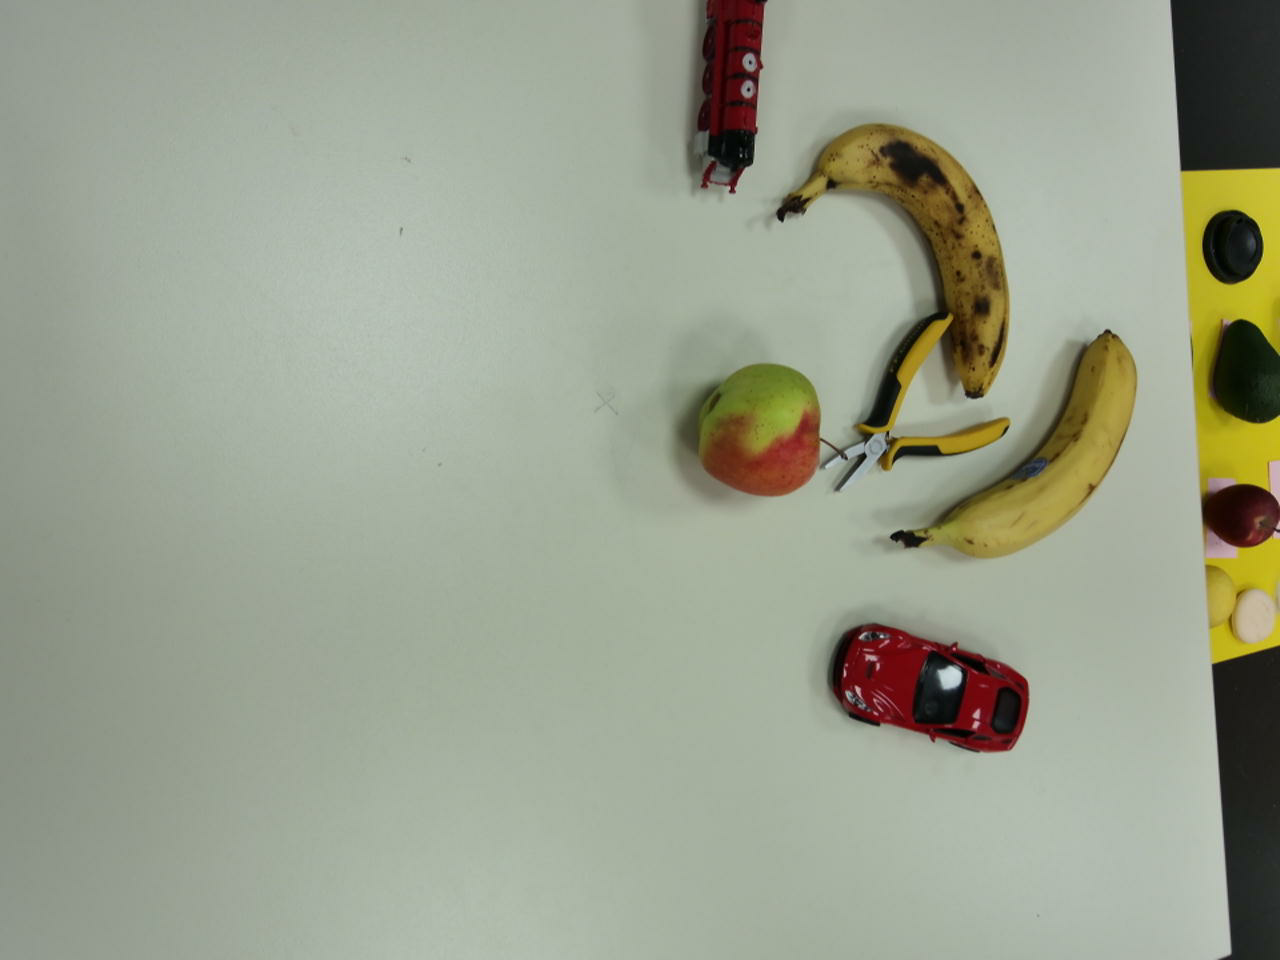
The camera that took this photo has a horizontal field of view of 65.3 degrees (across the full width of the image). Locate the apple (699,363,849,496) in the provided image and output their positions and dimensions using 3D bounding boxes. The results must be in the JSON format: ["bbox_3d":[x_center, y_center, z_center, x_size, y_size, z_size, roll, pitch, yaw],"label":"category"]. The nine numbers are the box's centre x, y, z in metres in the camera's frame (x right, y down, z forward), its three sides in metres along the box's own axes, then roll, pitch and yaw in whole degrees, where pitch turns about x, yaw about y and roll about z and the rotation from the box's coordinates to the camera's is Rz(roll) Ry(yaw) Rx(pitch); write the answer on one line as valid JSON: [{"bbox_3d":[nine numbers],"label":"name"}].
[{"bbox_3d":[0.068,-0.027,0.562,0.075,0.074,0.075,-27,100,-20],"label":"apple"}]
